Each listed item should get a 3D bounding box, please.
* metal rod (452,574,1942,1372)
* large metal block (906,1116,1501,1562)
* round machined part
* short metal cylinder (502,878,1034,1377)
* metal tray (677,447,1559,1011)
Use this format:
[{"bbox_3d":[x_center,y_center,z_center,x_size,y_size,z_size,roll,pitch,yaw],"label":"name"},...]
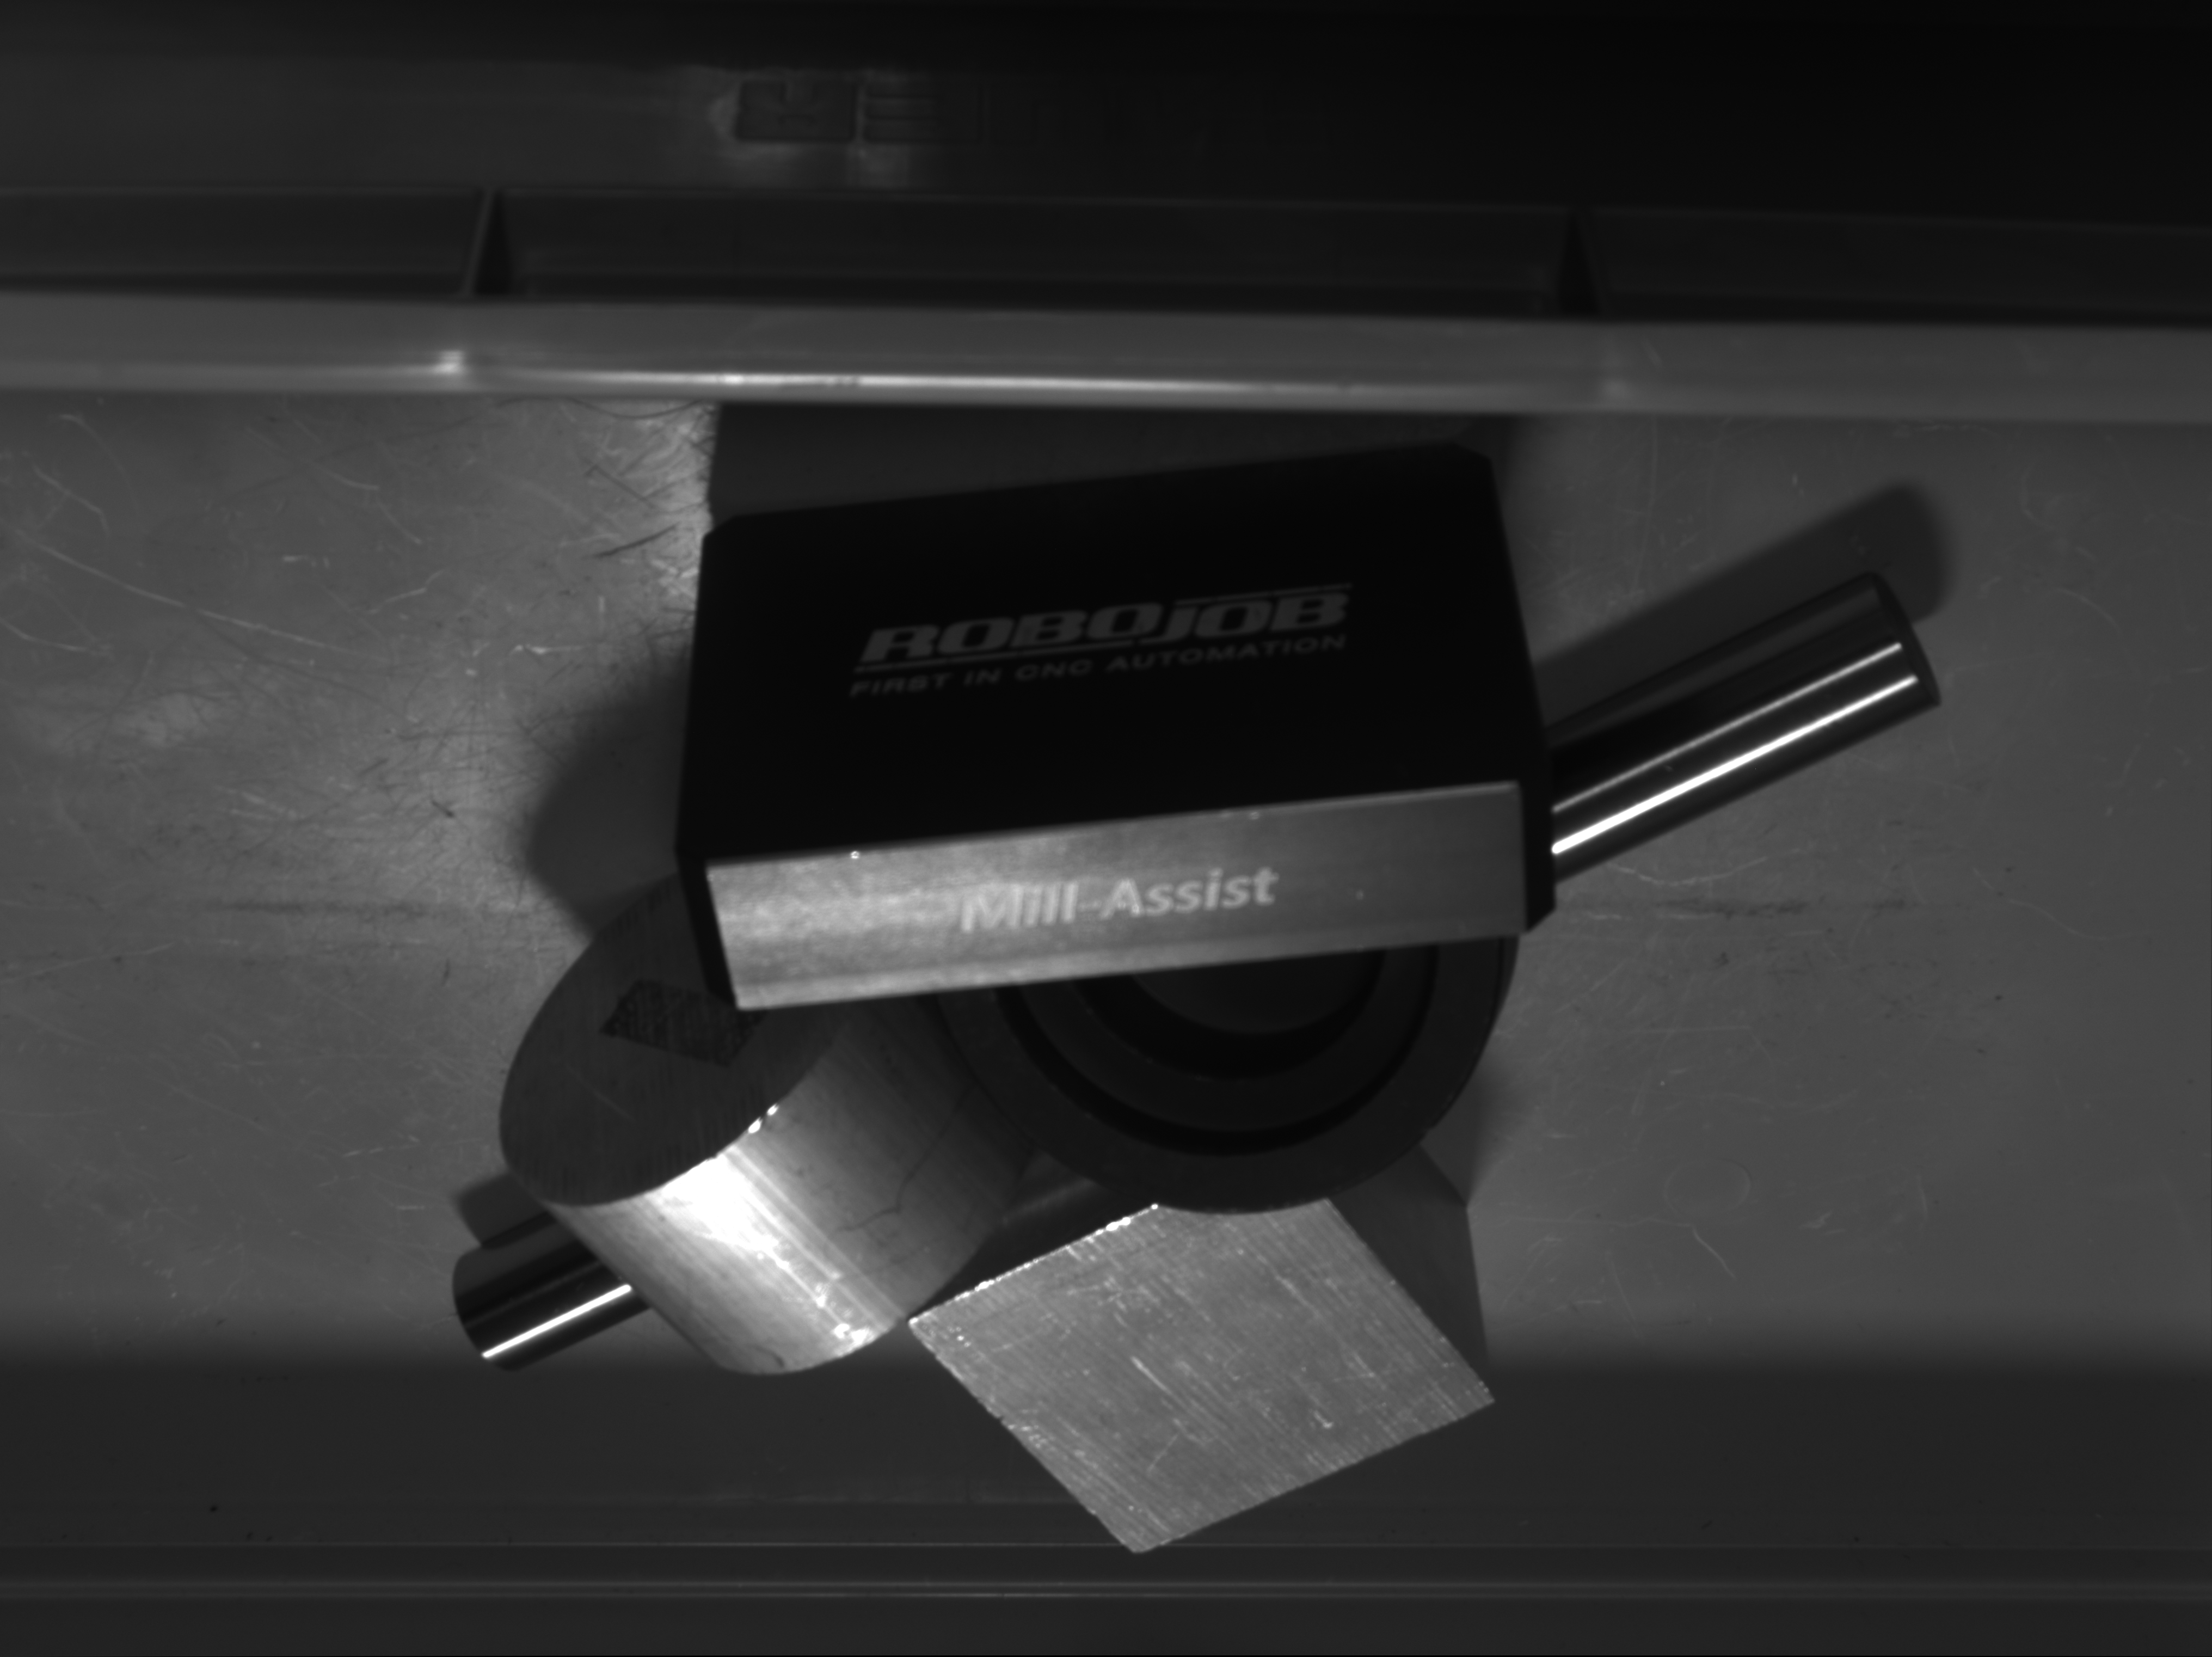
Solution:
[{"bbox_3d":[0.008,0.031,0.663,0.300,0.025,0.025,-26,126,19],"label":"metal rod"},{"bbox_3d":[0.018,0.083,0.689,0.080,0.050,0.080,-26,126,19],"label":"large metal block"},{"bbox_3d":[0.022,0.012,0.619,0.098,0.042,0.098,3,105,13],"label":"round machined part"},{"bbox_3d":[-0.058,0.048,0.640,0.080,0.080,0.050,-27,126,19],"label":"short metal cylinder"},{"bbox_3d":[0.001,-0.017,0.579,0.130,0.090,0.030,-5,130,2],"label":"metal tray"}]
